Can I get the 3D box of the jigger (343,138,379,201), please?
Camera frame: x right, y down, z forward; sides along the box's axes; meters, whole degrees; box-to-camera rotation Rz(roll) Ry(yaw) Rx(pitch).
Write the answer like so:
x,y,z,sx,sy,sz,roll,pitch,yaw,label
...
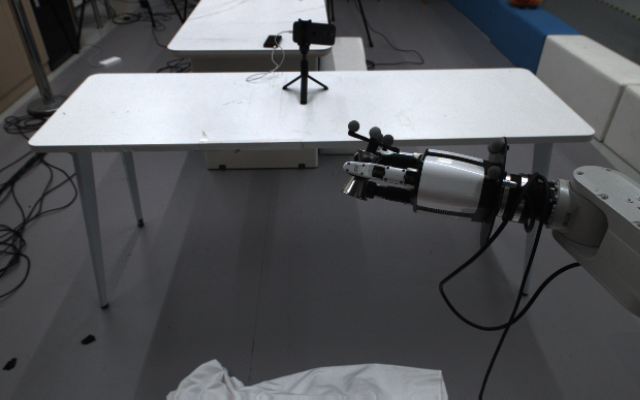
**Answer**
x,y,z,sx,sy,sz,roll,pitch,yaw,label
0.060,-0.039,0.718,0.043,0.071,0.043,22,6,-2,jigger
